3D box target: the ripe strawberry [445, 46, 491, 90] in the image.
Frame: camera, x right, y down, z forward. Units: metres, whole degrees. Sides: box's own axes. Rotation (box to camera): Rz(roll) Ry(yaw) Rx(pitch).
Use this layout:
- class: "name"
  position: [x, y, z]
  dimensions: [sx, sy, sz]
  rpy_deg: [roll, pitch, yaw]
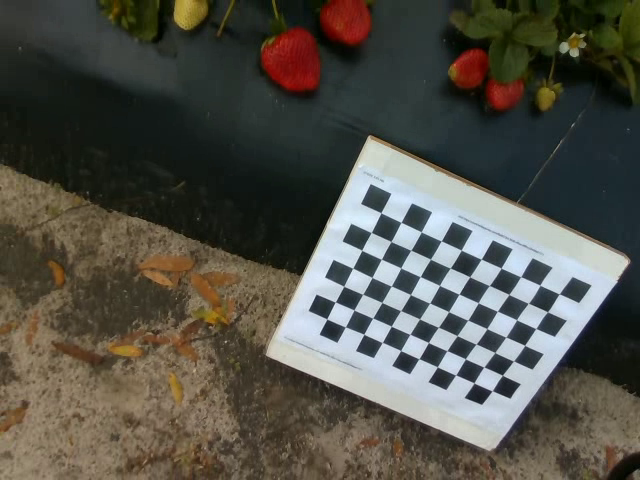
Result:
- class: "ripe strawberry"
  position: [0.148, -0.163, 0.782]
  dimensions: [0.053, 0.047, 0.039]
  rpy_deg: [-13, 34, -24]

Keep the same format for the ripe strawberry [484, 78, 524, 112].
- class: "ripe strawberry"
  position: [0.184, -0.138, 0.777]
  dimensions: [0.043, 0.049, 0.041]
  rpy_deg: [20, -37, -3]

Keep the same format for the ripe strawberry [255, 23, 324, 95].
- class: "ripe strawberry"
  position: [-0.020, -0.165, 0.769]
  dimensions: [0.058, 0.065, 0.043]
  rpy_deg: [-31, 2, 24]

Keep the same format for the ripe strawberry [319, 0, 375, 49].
- class: "ripe strawberry"
  position: [0.032, -0.206, 0.773]
  dimensions: [0.050, 0.060, 0.051]
  rpy_deg: [-37, -32, 25]
